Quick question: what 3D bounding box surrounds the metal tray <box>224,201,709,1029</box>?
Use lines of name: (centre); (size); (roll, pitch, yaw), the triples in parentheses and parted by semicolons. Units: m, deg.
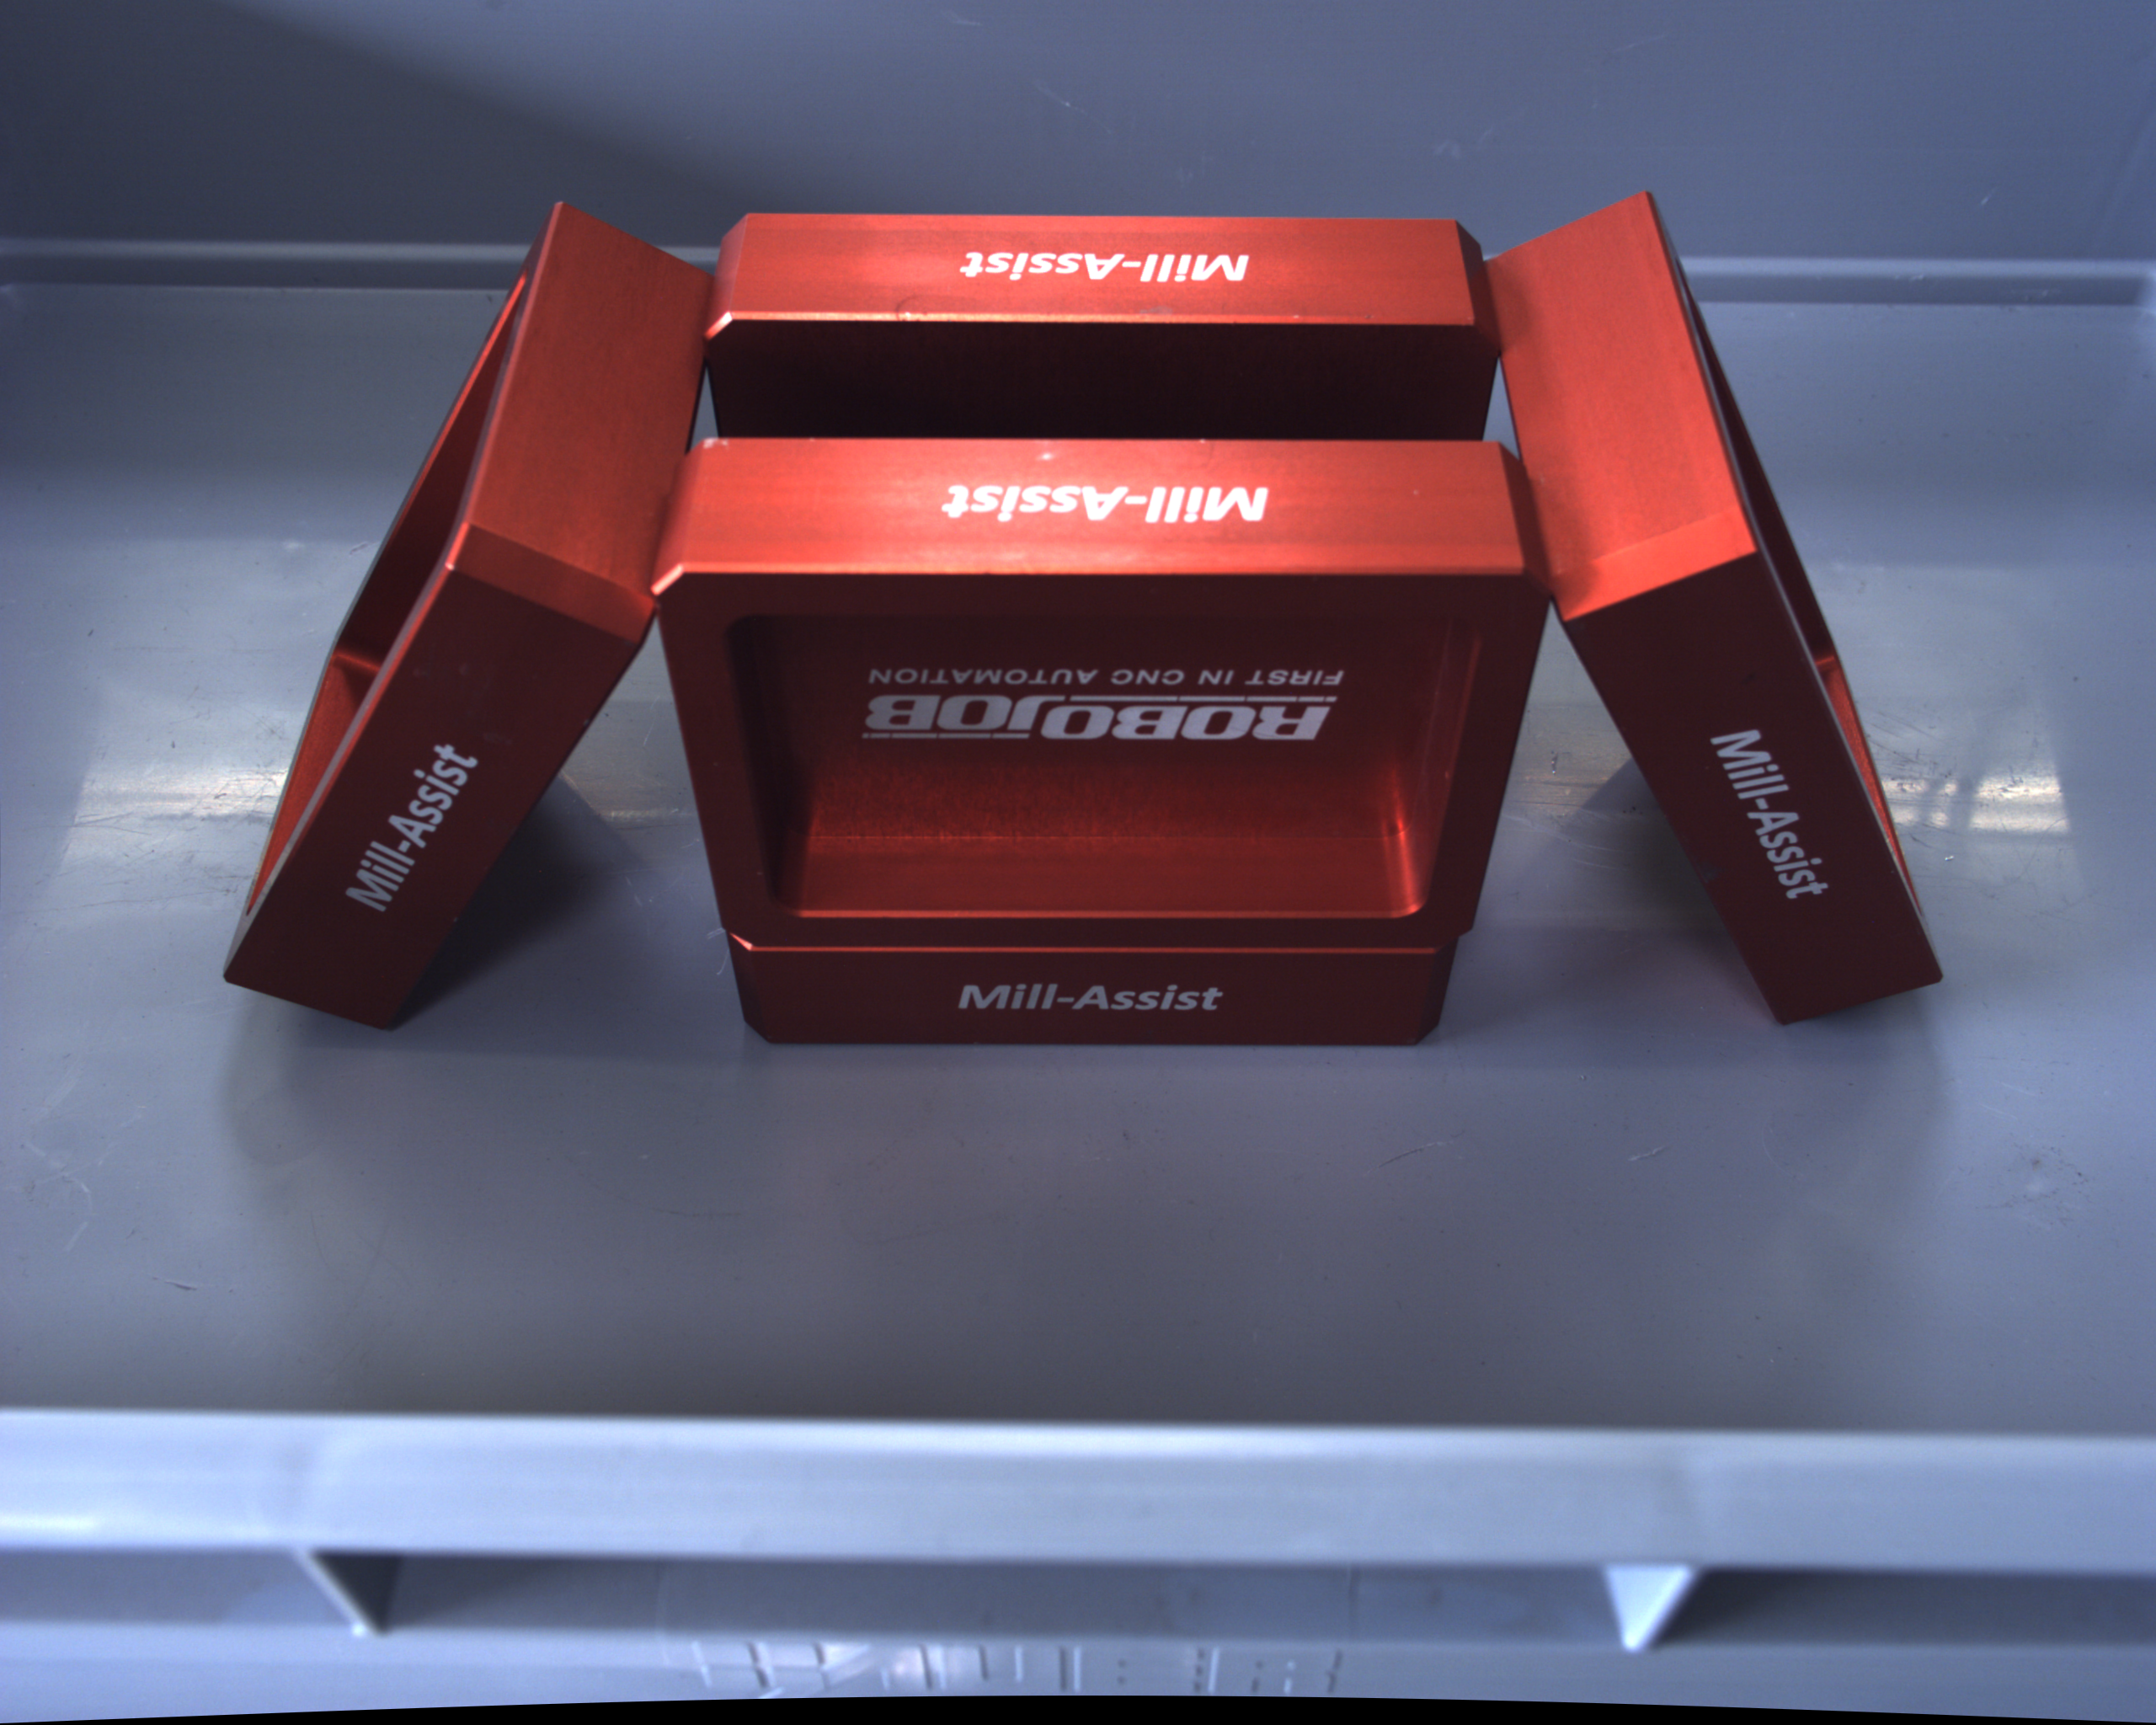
metal tray: (-0.109, -0.040, 0.370); (0.030, 0.129, 0.090); (22, 46, -24)

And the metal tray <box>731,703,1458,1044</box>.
metal tray: (0.003, -0.009, 0.408); (0.131, 0.030, 0.090); (0, 50, -1)

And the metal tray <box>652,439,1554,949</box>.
metal tray: (0.004, -0.025, 0.342); (0.131, 0.089, 0.030); (0, 50, -1)

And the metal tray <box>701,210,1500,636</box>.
metal tray: (0.004, -0.072, 0.381); (0.131, 0.089, 0.030); (0, 50, 0)

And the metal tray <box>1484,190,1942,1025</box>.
metal tray: (0.114, -0.042, 0.372); (0.030, 0.130, 0.090); (-20, 47, 23)
